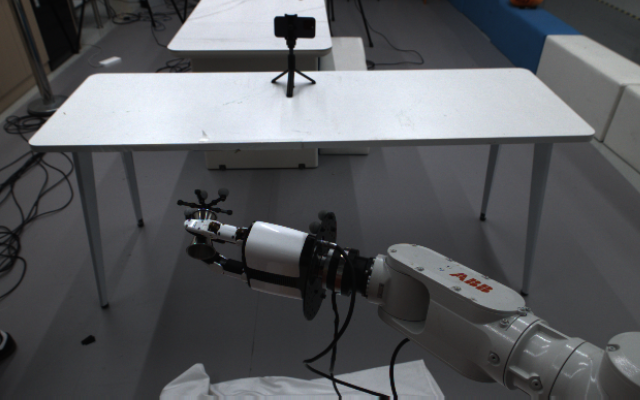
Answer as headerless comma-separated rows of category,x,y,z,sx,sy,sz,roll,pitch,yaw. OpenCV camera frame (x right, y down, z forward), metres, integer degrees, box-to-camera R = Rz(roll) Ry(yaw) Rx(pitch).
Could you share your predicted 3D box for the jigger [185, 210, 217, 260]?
jigger,-0.184,0.052,0.750,0.043,0.043,0.071,-1,52,-5
